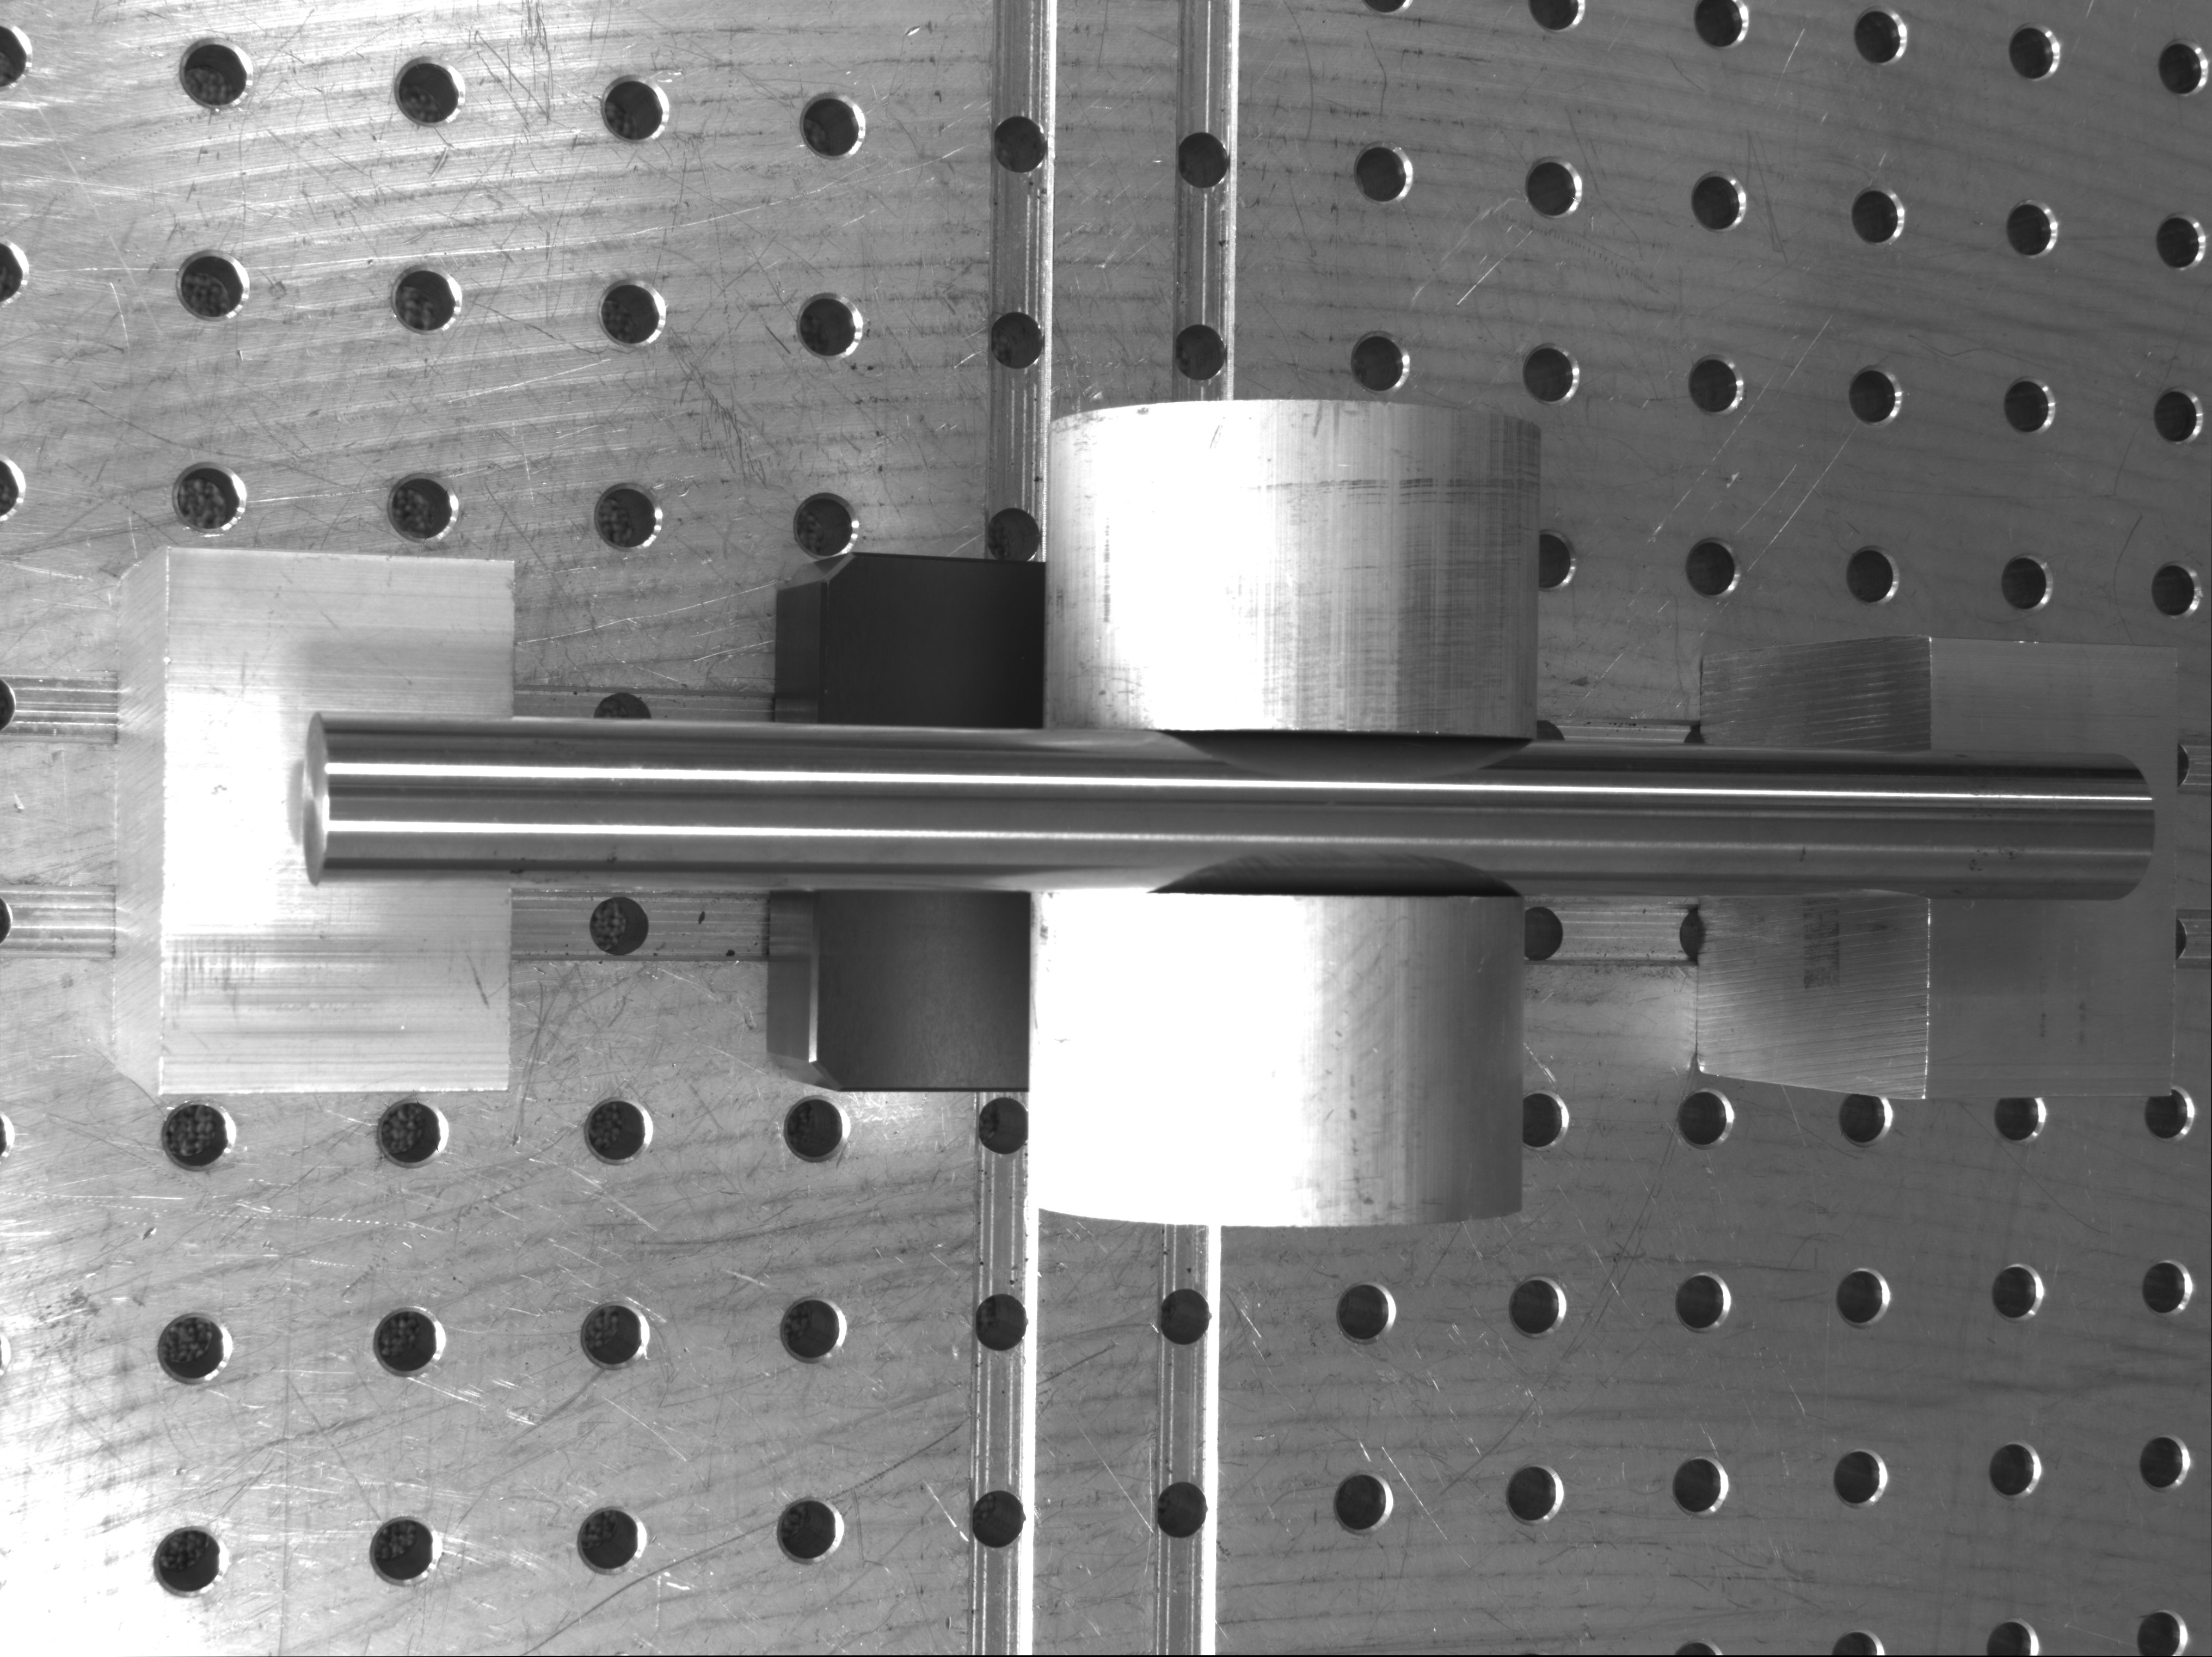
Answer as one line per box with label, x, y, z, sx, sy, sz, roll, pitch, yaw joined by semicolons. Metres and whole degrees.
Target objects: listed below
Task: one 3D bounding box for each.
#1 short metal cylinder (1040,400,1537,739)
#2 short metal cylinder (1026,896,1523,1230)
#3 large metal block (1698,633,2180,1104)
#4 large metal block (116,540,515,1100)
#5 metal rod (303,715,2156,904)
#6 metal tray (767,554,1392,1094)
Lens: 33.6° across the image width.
short metal cylinder;0.030;-0.040;0.595;0.080;0.080;0.050;1;90;-20
short metal cylinder;0.027;0.036;0.594;0.080;0.080;0.050;1;90;-20
large metal block;0.150;0.007;0.669;0.050;0.080;0.080;1;90;-20
large metal block;-0.125;-0.001;0.570;0.050;0.080;0.080;1;90;-20
metal rod;0.029;-0.002;0.570;0.301;0.025;0.025;1;90;-20
metal tray;0.008;0.001;0.645;0.130;0.030;0.090;2;89;-20
